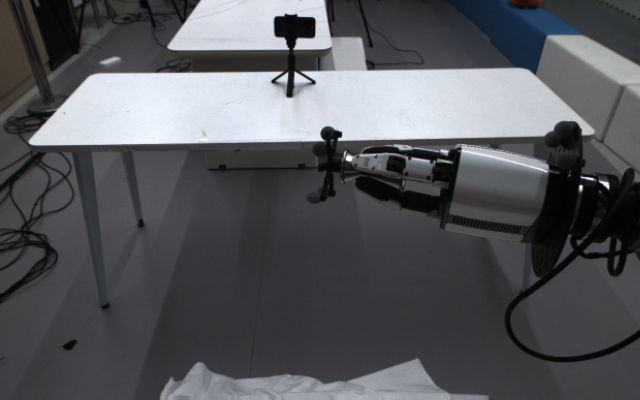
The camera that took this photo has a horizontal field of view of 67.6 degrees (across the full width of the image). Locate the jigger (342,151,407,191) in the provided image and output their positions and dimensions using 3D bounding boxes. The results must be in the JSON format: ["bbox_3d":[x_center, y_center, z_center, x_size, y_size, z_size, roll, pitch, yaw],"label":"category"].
[{"bbox_3d":[0.067,-0.036,0.538,0.071,0.043,0.043,7,35,14],"label":"jigger"}]
